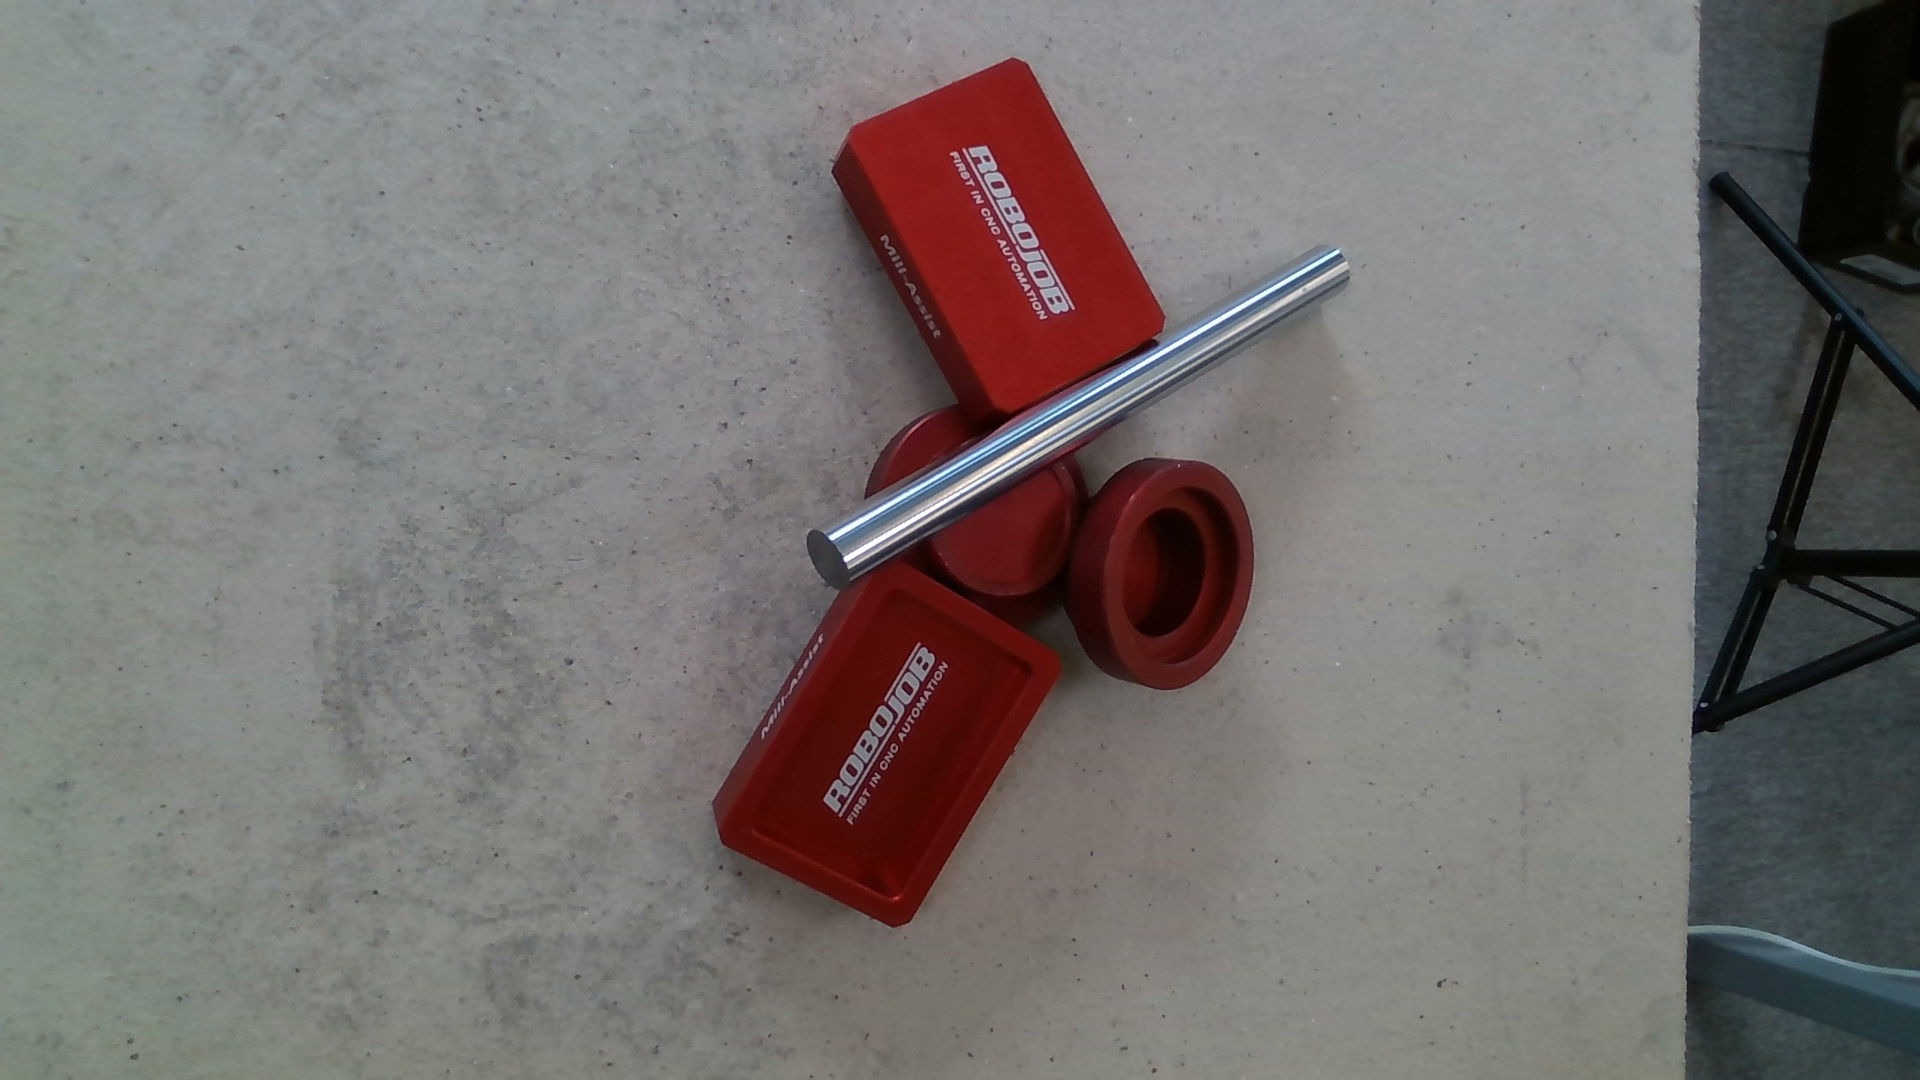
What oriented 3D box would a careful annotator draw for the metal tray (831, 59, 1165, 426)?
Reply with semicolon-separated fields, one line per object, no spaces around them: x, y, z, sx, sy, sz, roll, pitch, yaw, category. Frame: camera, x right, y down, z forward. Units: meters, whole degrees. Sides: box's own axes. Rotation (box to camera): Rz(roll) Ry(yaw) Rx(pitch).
0.016;-0.125;0.578;0.090;0.030;0.130;-30;91;-21;metal tray

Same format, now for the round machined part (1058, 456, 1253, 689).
0.081;0.012;0.596;0.098;0.042;0.098;-8;101;-41;round machined part

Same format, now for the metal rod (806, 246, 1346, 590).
0.062;-0.060;0.574;0.300;0.025;0.025;-31;101;-31;metal rod

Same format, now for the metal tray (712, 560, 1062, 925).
-0.030;0.079;0.562;0.090;0.030;0.130;31;90;-18;metal tray

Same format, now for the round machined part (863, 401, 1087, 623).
0.011;-0.011;0.582;0.098;0.042;0.098;0;90;-20;round machined part
